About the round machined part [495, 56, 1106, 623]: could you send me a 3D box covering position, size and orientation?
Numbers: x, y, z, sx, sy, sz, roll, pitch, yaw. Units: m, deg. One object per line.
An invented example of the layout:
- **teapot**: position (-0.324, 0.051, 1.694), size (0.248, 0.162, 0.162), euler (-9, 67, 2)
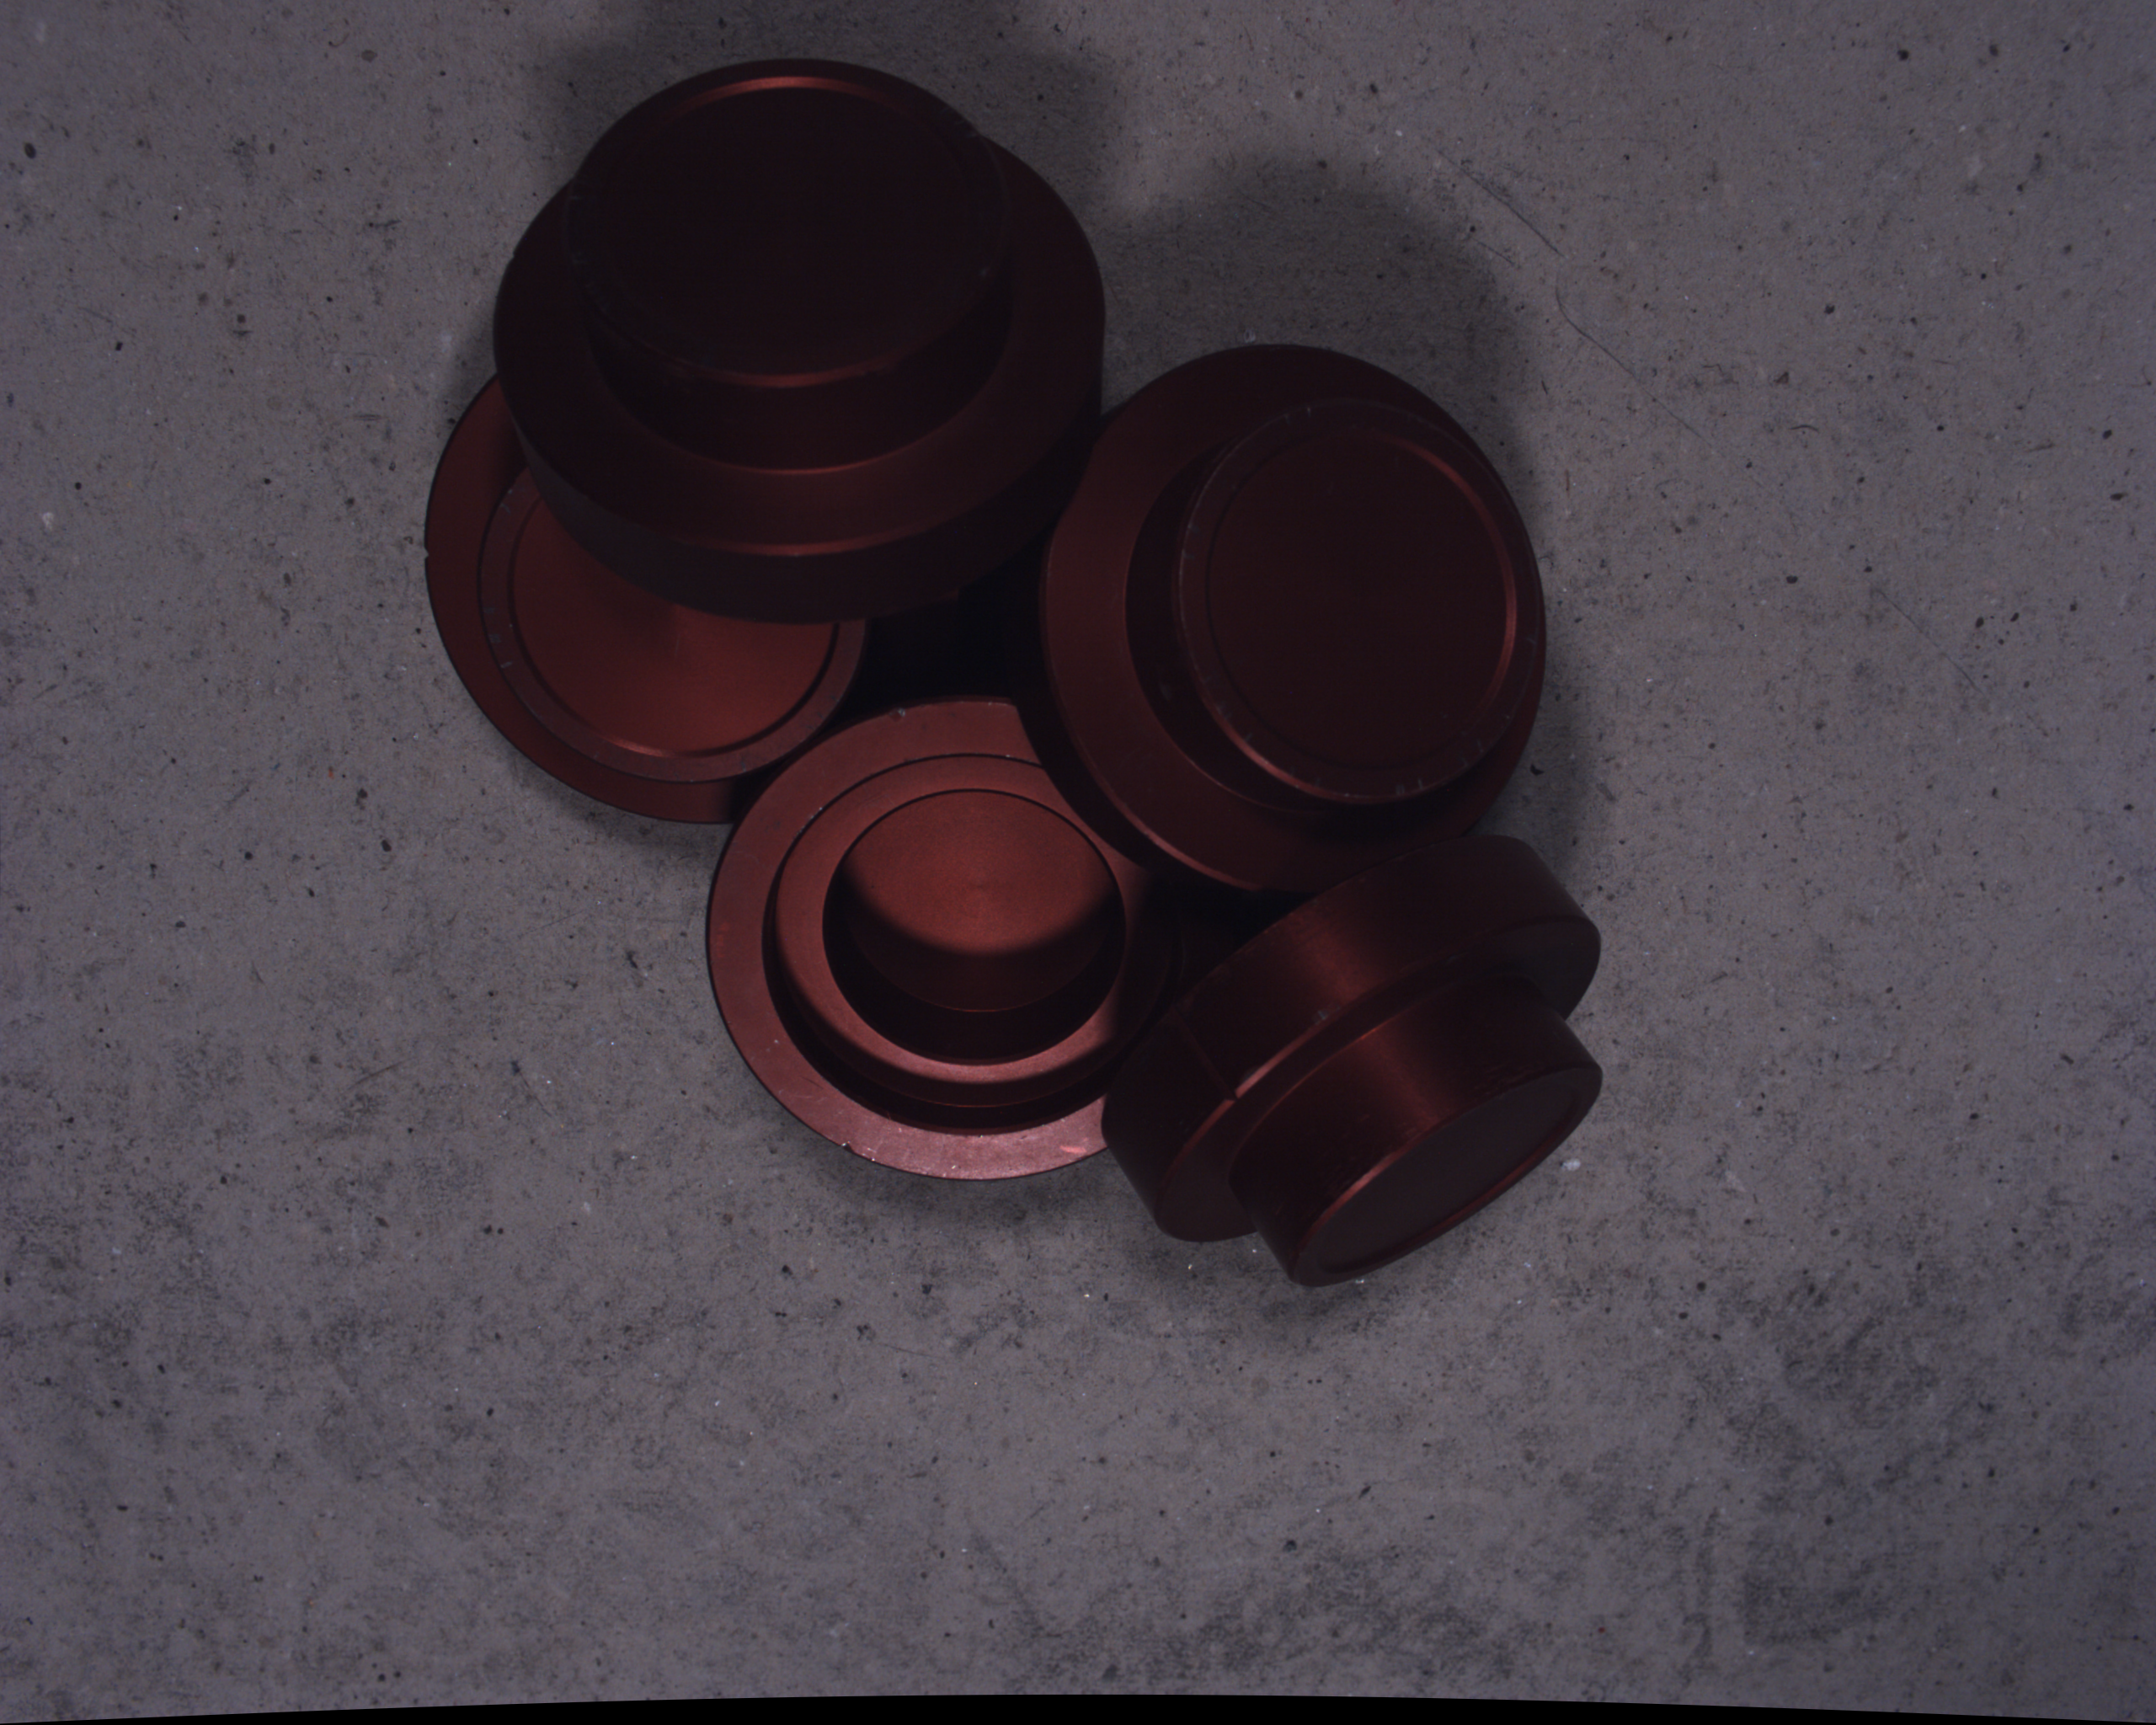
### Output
- **round machined part**: position (-0.045, -0.090, 0.337), size (0.099, 0.098, 0.042), euler (1, 152, -1)

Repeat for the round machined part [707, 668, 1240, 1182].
- **round machined part**: position (-0.019, 0.009, 0.405), size (0.099, 0.042, 0.097), euler (0, 110, -1)

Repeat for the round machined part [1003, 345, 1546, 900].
- **round machined part**: position (0.040, -0.043, 0.364), size (0.099, 0.042, 0.097), euler (1, 86, -21)

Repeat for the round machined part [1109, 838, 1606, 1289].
- **round machined part**: position (0.058, 0.043, 0.389), size (0.098, 0.098, 0.042), euler (-41, 65, 13)

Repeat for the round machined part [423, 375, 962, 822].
- **round machined part**: position (-0.071, -0.053, 0.383), size (0.099, 0.042, 0.097), euler (0, 110, -1)
